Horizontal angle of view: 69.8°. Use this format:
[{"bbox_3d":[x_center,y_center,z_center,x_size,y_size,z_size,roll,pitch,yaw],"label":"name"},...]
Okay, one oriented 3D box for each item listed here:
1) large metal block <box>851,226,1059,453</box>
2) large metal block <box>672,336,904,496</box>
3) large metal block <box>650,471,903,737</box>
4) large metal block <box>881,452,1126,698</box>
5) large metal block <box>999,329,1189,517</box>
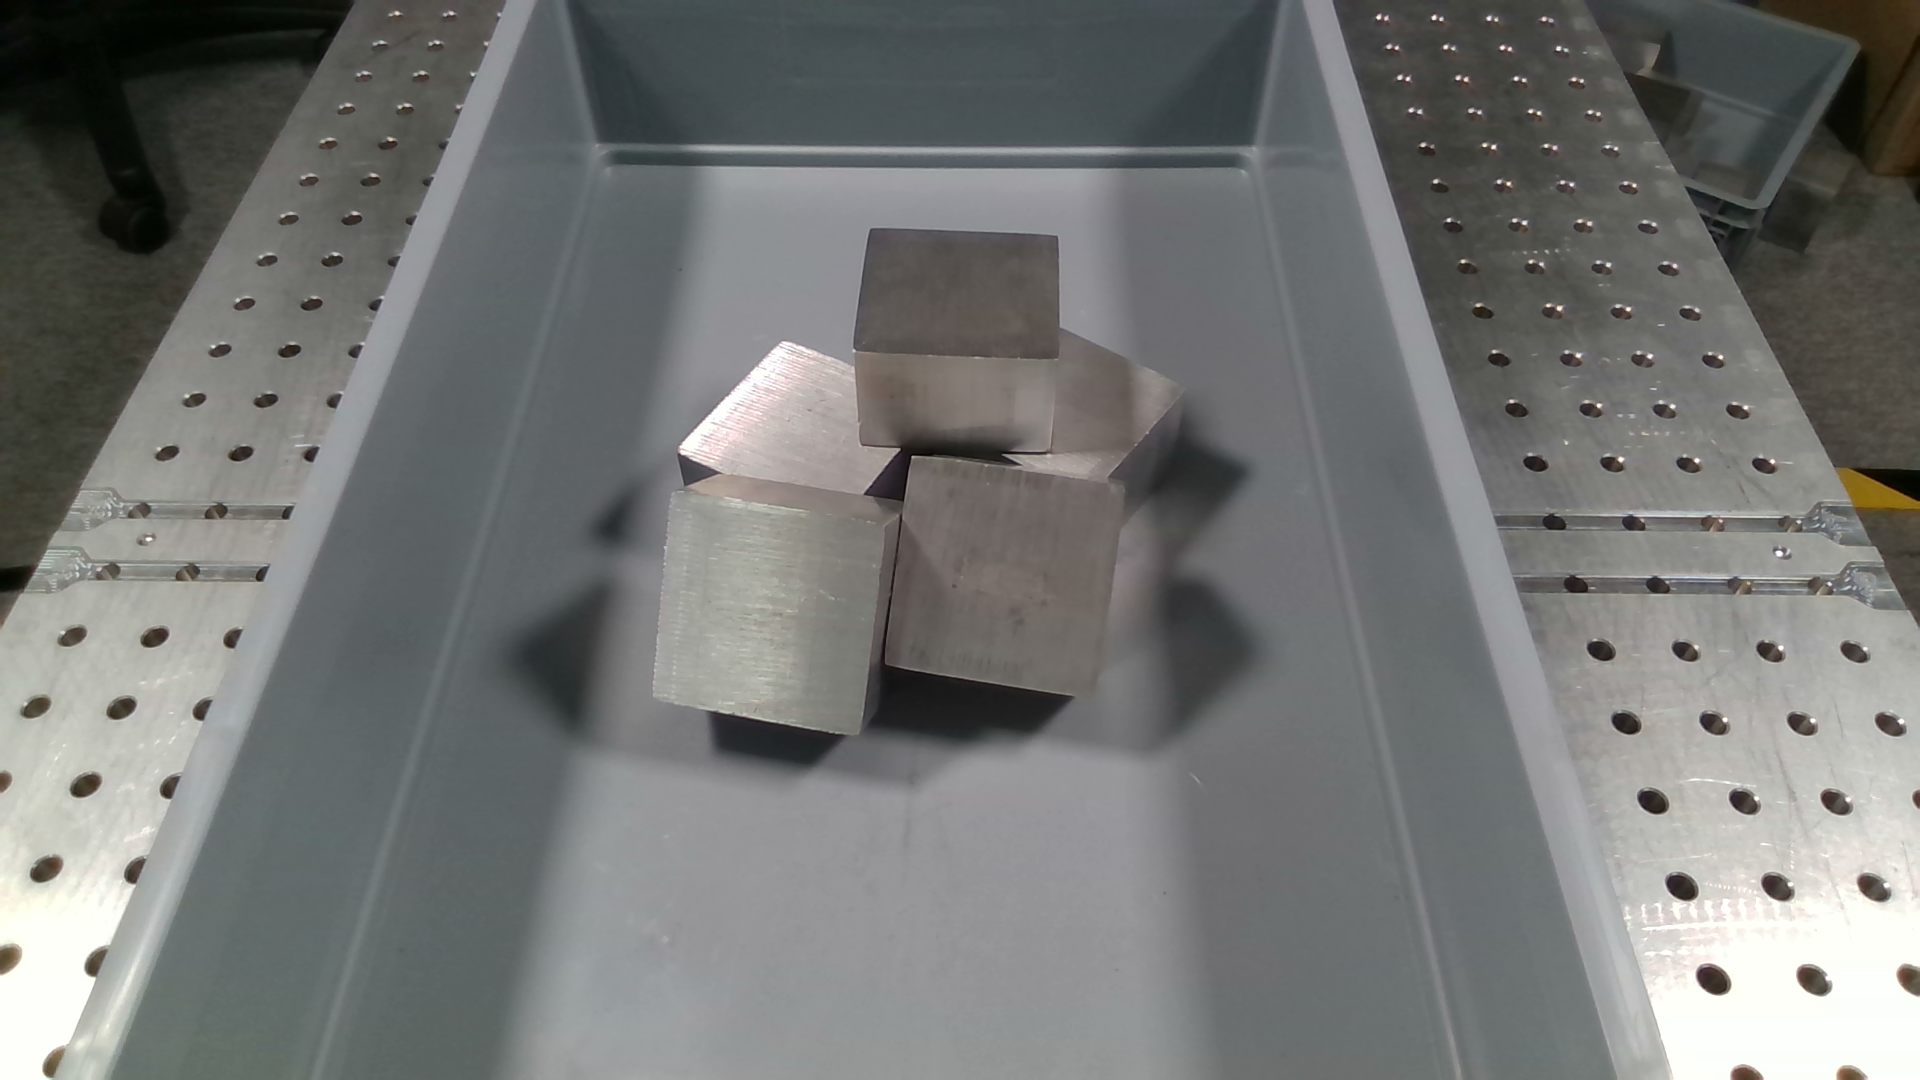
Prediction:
[{"bbox_3d":[-0.001,-0.084,0.572,0.080,0.050,0.080,3,49,1],"label":"large metal block"},{"bbox_3d":[-0.063,-0.033,0.593,0.080,0.050,0.080,24,54,19],"label":"large metal block"},{"bbox_3d":[-0.067,0.022,0.522,0.080,0.080,0.050,9,11,7],"label":"large metal block"},{"bbox_3d":[0.019,0.011,0.532,0.080,0.050,0.080,9,96,7],"label":"large metal block"},{"bbox_3d":[0.043,-0.043,0.606,0.080,0.050,0.080,29,56,22],"label":"large metal block"}]
